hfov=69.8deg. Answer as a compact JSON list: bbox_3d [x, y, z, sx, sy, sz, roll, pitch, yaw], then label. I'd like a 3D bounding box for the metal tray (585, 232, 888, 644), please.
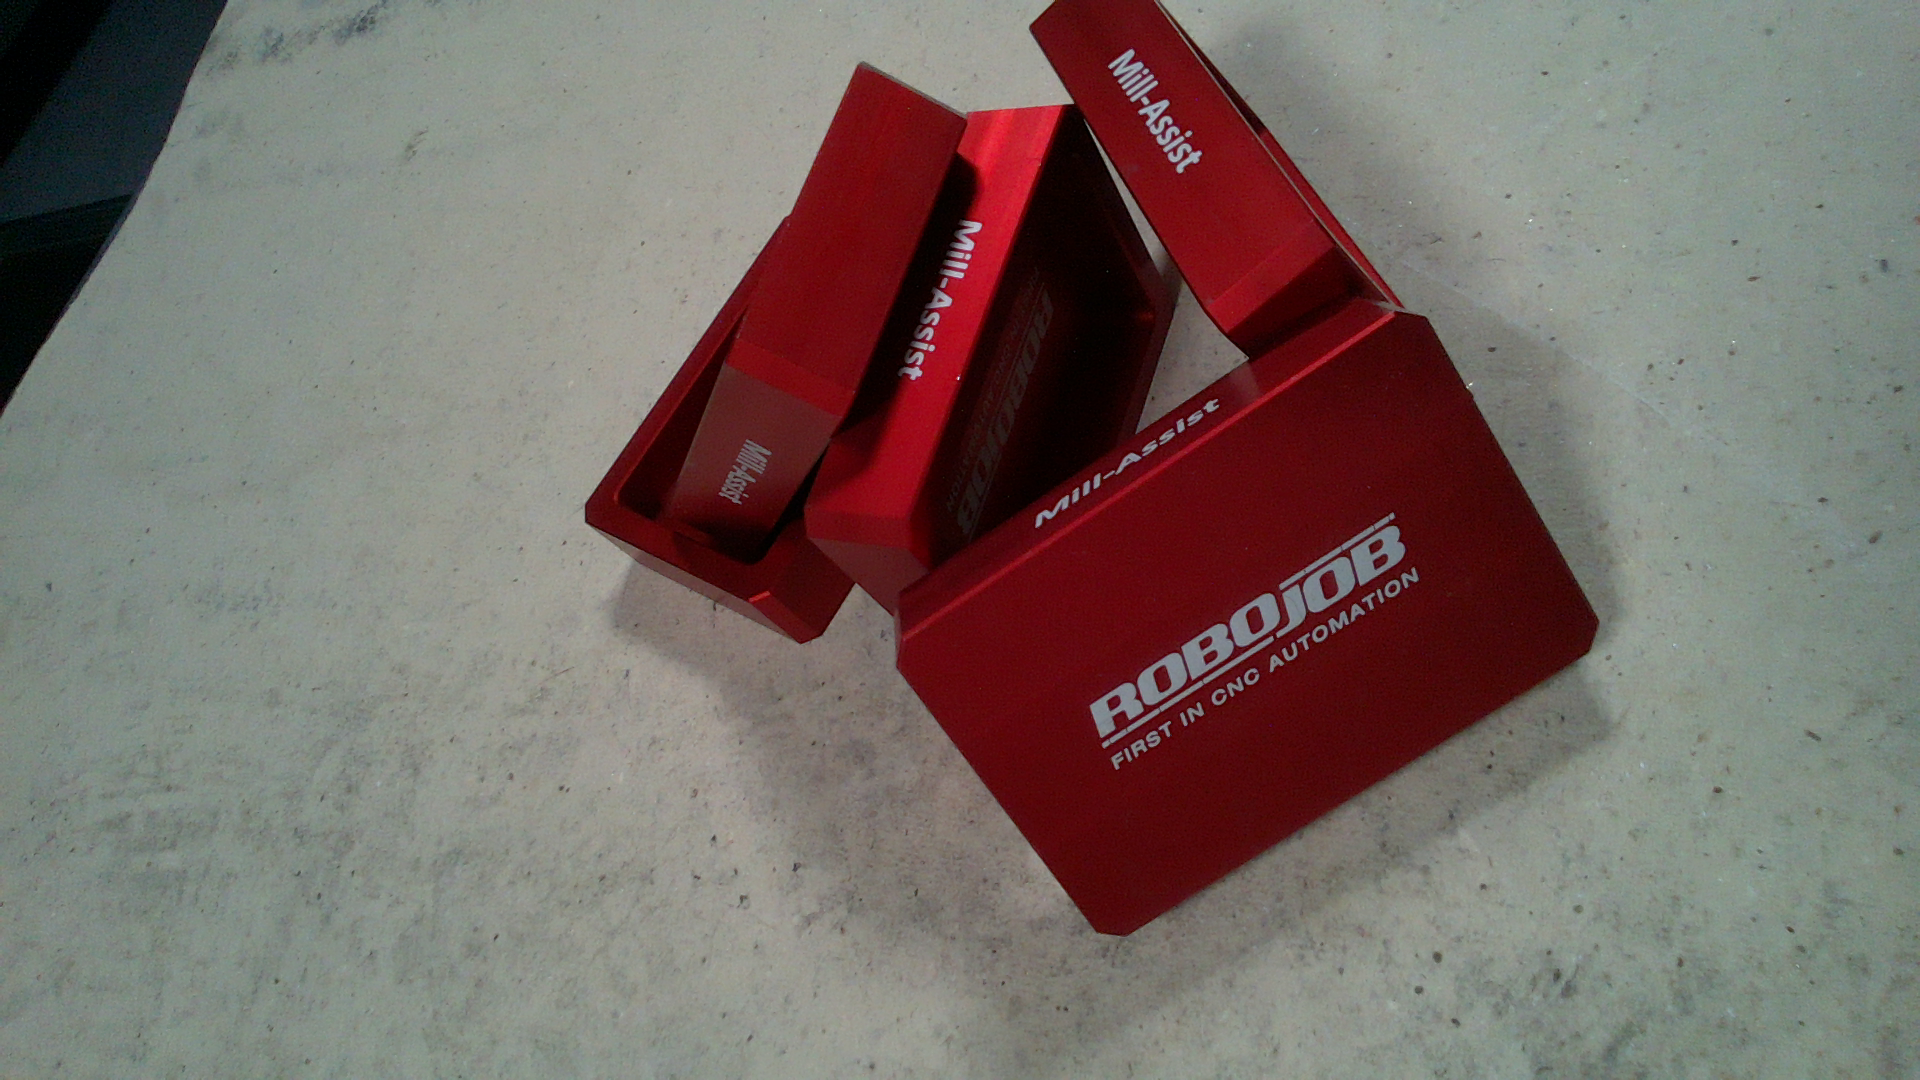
[{"bbox_3d":[-0.051,-0.041,0.444,0.090,0.030,0.130,22,73,36],"label":"metal tray"}]

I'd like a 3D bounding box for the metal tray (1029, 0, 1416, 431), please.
[{"bbox_3d":[0.074,-0.088,0.363,0.030,0.090,0.130,-39,49,21],"label":"metal tray"}]

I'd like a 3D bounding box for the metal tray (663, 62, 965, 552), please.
[{"bbox_3d":[-0.044,-0.057,0.380,0.090,0.030,0.130,-70,11,-21],"label":"metal tray"}]

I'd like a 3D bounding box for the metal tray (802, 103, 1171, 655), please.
[{"bbox_3d":[0.014,-0.038,0.368,0.030,0.090,0.130,6,65,31],"label":"metal tray"}]

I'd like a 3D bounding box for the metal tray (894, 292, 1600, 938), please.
[{"bbox_3d":[0.061,0.018,0.307,0.130,0.090,0.030,-34,16,6],"label":"metal tray"}]
